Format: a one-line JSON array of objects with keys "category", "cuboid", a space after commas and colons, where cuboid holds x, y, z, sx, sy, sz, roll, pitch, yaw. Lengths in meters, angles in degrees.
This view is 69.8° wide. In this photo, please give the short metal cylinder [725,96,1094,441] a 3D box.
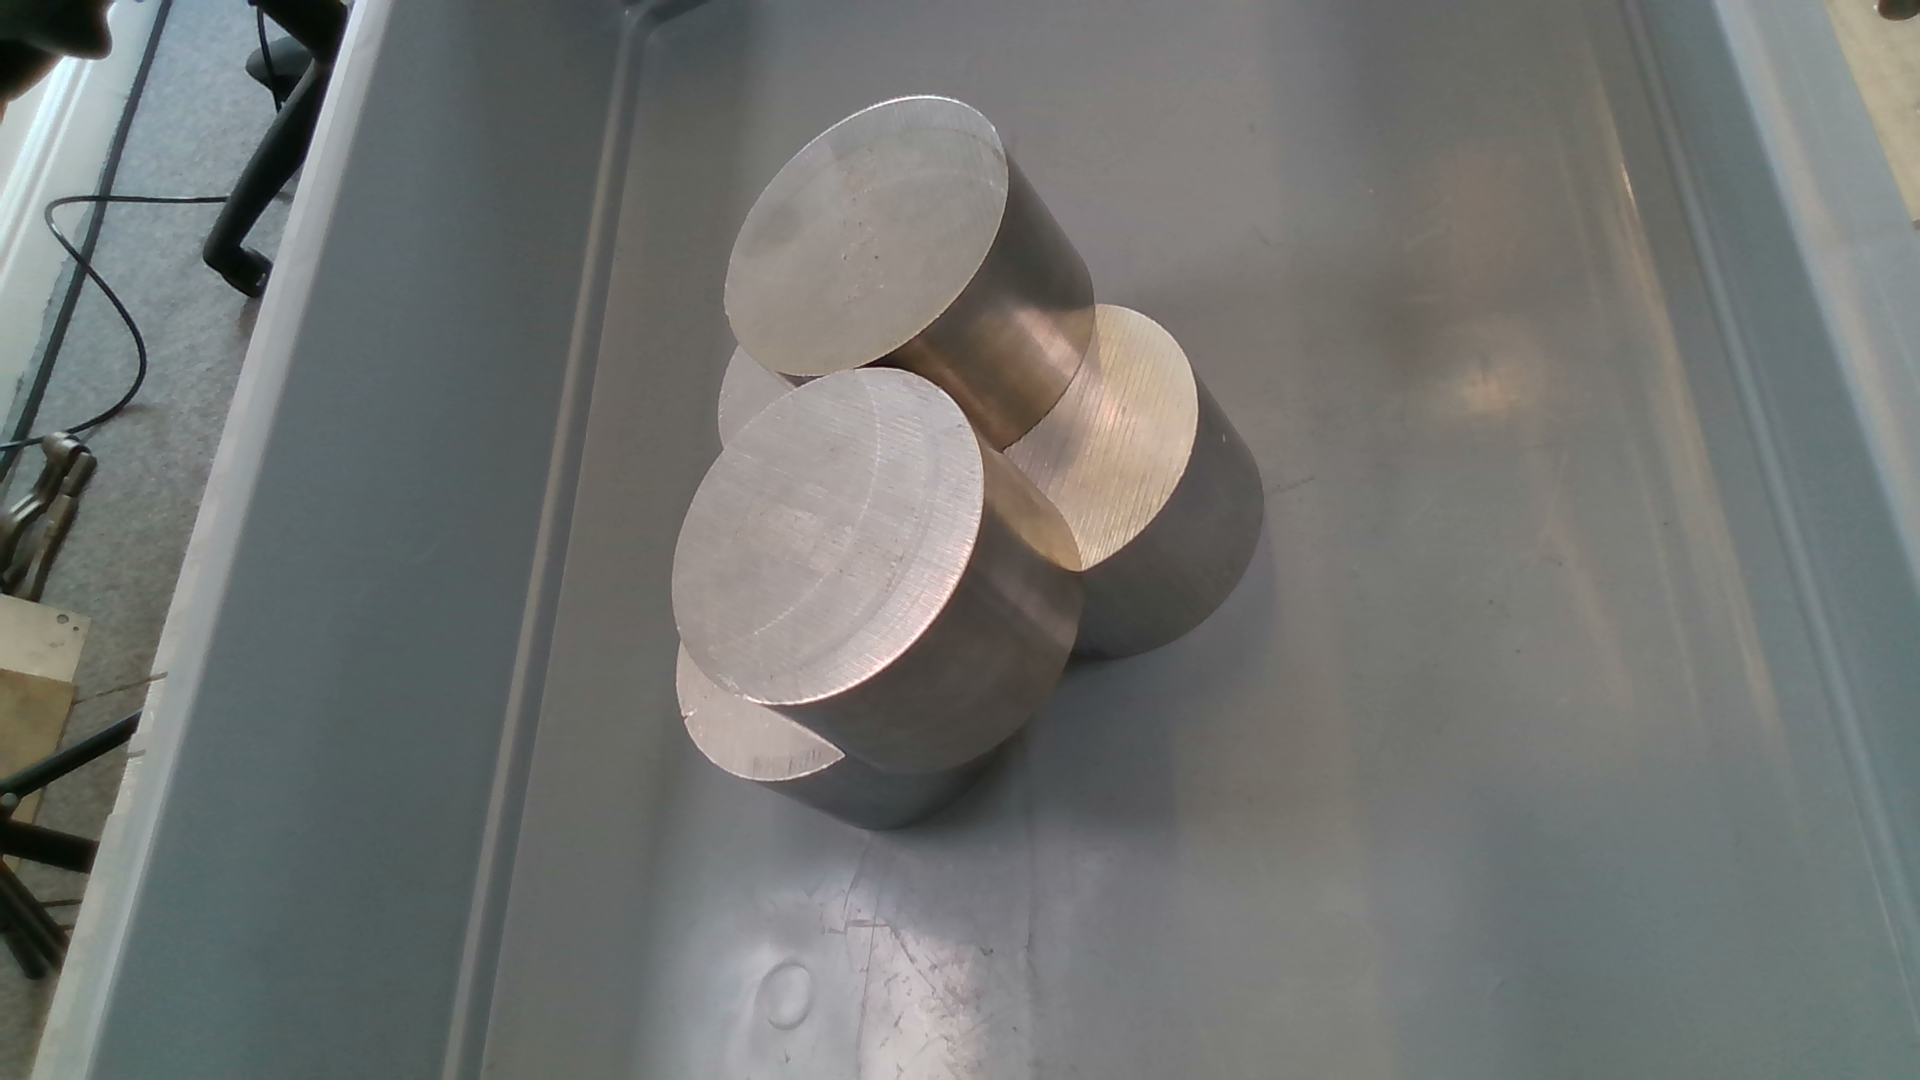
[{"category": "short metal cylinder", "cuboid": [-0.013, -0.065, 0.353, 0.080, 0.050, 0.080, -14, 59, 25]}]

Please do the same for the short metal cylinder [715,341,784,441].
[{"category": "short metal cylinder", "cuboid": [-0.026, -0.040, 0.412, 0.080, 0.050, 0.080, -14, 59, 25]}]

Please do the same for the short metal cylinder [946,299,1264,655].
[{"category": "short metal cylinder", "cuboid": [0.034, -0.016, 0.363, 0.080, 0.050, 0.080, -14, 59, 25]}]

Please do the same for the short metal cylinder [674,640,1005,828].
[{"category": "short metal cylinder", "cuboid": [-0.030, 0.033, 0.376, 0.080, 0.050, 0.080, -14, 59, 25]}]

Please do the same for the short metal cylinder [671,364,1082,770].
[{"category": "short metal cylinder", "cuboid": [-0.019, 0.007, 0.317, 0.080, 0.050, 0.080, -14, 59, 25]}]
